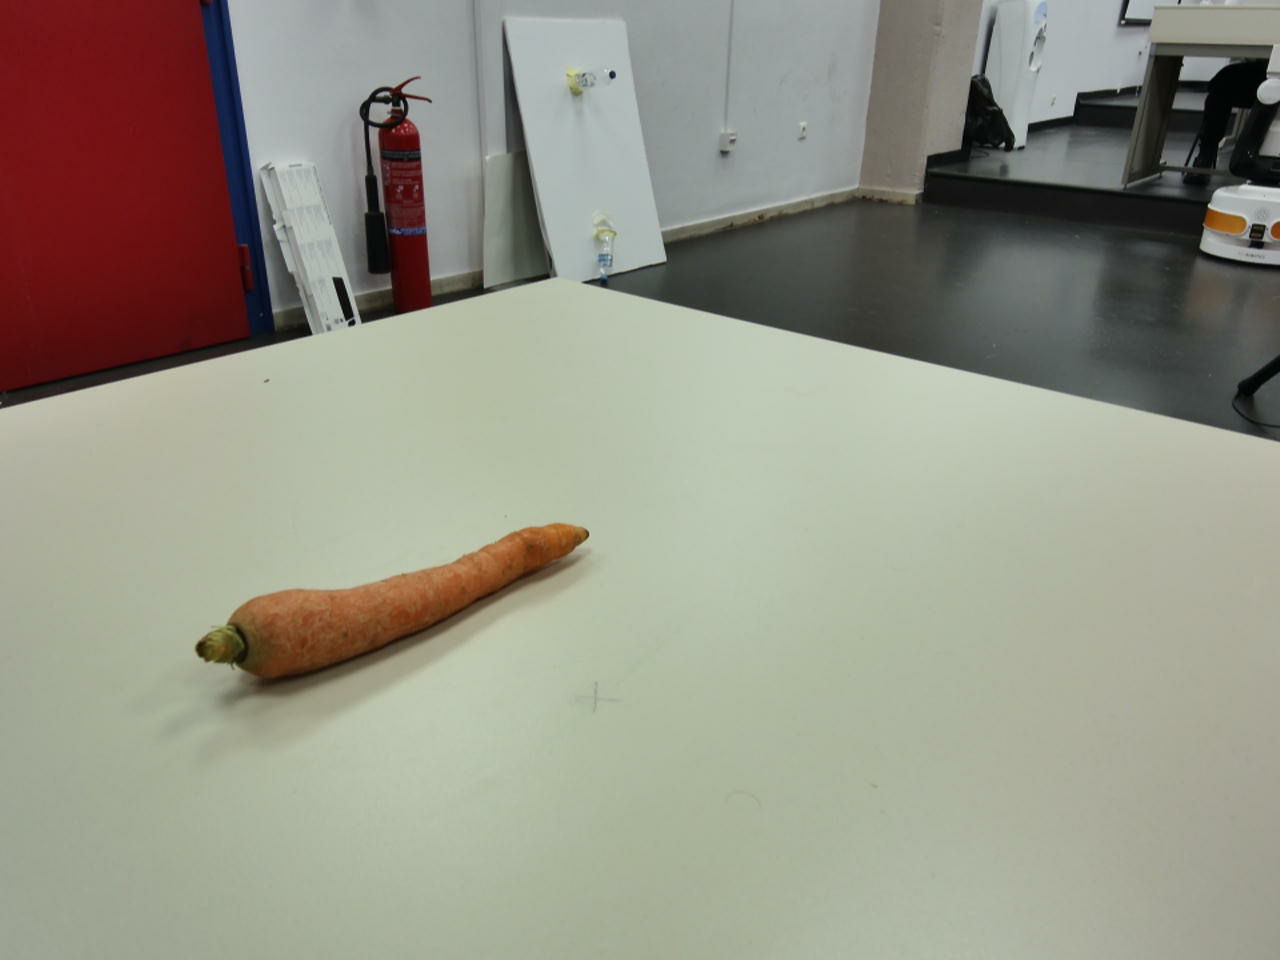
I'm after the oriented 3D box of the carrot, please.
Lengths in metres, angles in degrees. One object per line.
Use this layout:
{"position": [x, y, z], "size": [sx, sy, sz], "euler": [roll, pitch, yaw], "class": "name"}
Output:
{"position": [-0.084, 0.041, 0.387], "size": [0.173, 0.032, 0.030], "euler": [-19, 29, -38], "class": "carrot"}
